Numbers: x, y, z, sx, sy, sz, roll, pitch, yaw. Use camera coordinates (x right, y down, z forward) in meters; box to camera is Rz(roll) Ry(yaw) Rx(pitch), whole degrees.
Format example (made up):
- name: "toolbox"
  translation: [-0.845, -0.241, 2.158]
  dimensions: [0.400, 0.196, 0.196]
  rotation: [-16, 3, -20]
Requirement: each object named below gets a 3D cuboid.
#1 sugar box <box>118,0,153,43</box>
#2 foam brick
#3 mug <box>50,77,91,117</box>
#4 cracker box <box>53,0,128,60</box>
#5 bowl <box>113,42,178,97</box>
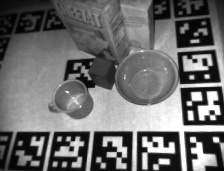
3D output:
- name: "sugar box"
  translation: [0.056, -0.182, 0.577]
  dimensions: [0.092, 0.178, 0.045]
  rotation: [18, 71, 21]
- name: "foam brick"
  translation: [-0.030, -0.052, 0.598]
  dimensions: [0.052, 0.079, 0.051]
  rotation: [12, 68, 19]
- name: "mug"
  translation: [-0.118, 0.032, 0.568]
  dimensions: [0.116, 0.082, 0.093]
  rotation: [-11, 56, 10]
- name: "cracker box"
  translation: [-0.056, -0.173, 0.578]
  dimensions: [0.162, 0.215, 0.072]
  rotation: [27, 72, 22]
- name: "bowl"
  translation: [0.086, -0.030, 0.558]
  dimensions: [0.161, 0.056, 0.161]
  rotation: [-4, 66, 11]
